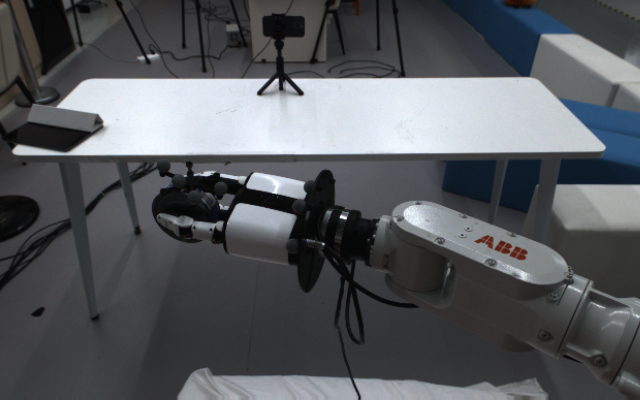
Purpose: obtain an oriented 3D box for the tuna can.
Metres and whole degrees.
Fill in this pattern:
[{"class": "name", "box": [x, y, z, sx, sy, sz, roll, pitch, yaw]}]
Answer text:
[{"class": "tuna can", "box": [-0.179, 0.016, 0.655, 0.085, 0.085, 0.034, 9, 35, 10]}]
